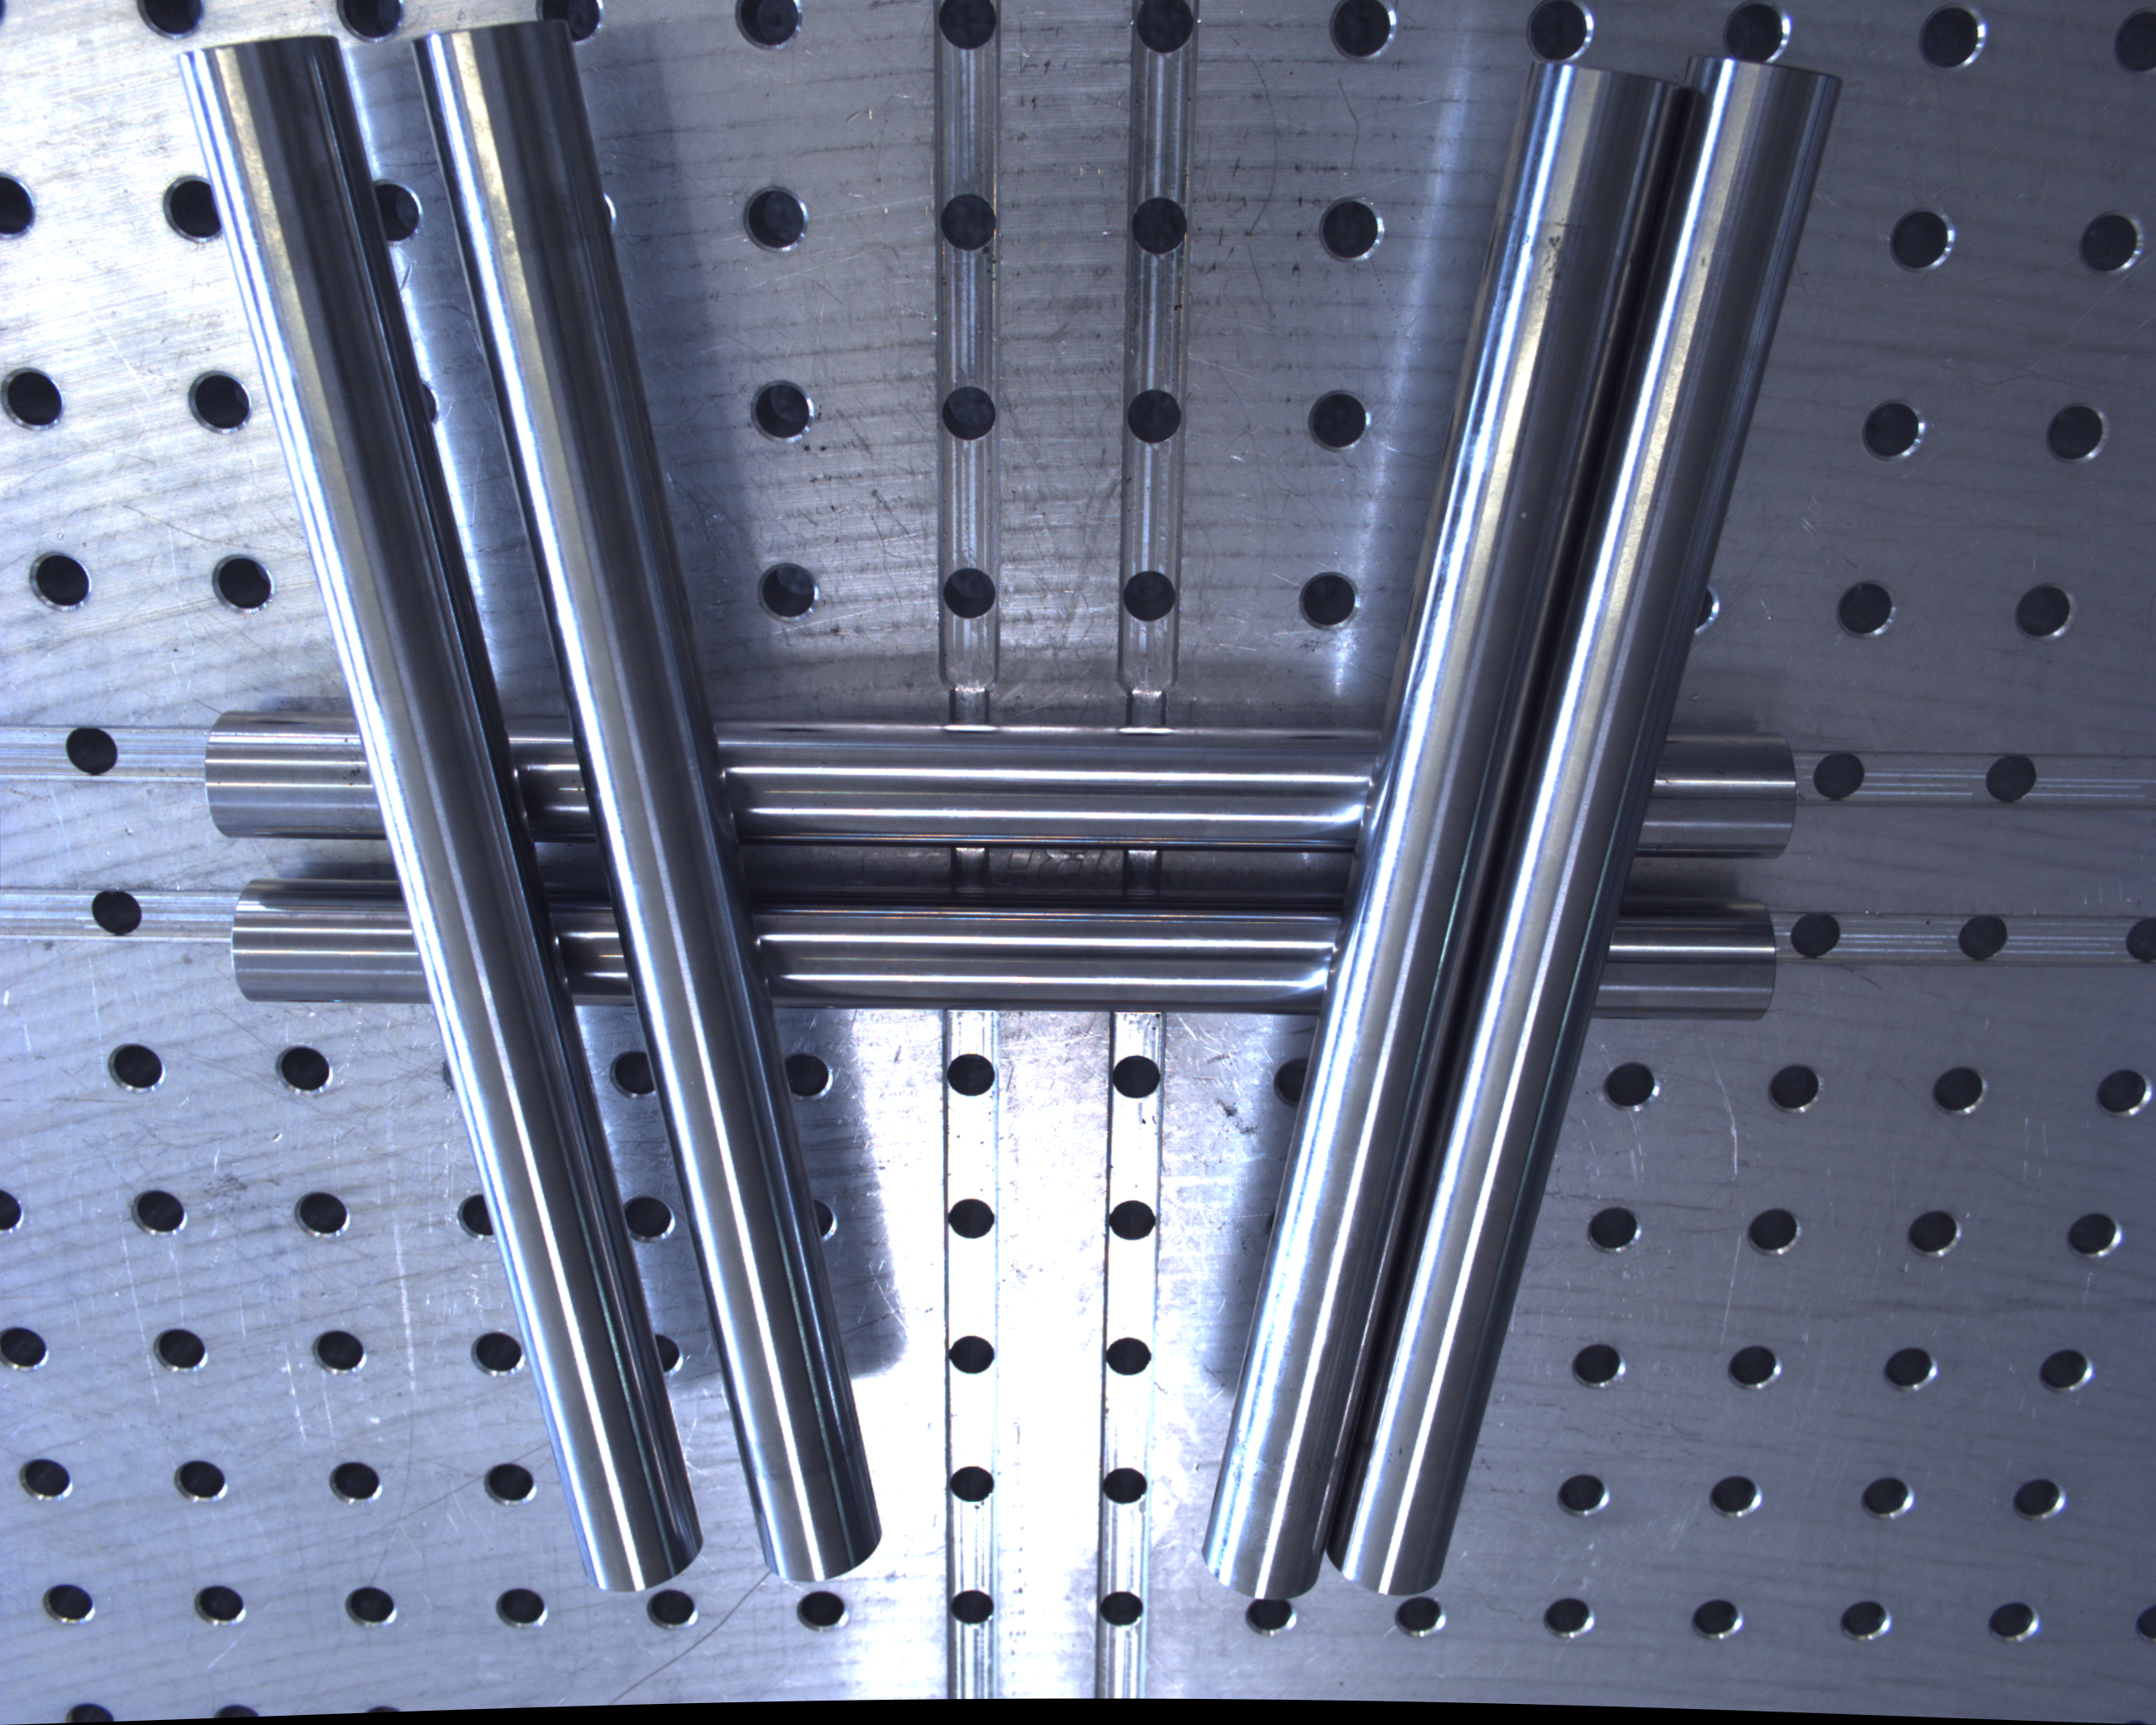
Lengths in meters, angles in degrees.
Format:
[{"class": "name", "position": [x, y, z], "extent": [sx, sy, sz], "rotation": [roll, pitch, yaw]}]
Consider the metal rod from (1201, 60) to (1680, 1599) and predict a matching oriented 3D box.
[{"class": "metal rod", "position": [0.062, 0.009, 0.391], "extent": [0.025, 0.025, 0.298], "rotation": [9, 110, -3]}]

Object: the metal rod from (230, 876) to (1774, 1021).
[{"class": "metal rod", "position": [-0.014, 0.017, 0.420], "extent": [0.302, 0.025, 0.025], "rotation": [1, 110, -1]}]

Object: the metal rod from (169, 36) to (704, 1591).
[{"class": "metal rod", "position": [-0.113, 0.007, 0.389], "extent": [0.025, 0.025, 0.298], "rotation": [-8, 110, 3]}]

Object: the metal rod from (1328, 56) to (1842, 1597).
[{"class": "metal rod", "position": [0.088, 0.009, 0.391], "extent": [0.025, 0.025, 0.298], "rotation": [9, 110, -3]}]

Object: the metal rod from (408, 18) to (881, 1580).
[{"class": "metal rod", "position": [-0.075, 0.004, 0.388], "extent": [0.025, 0.025, 0.298], "rotation": [-8, 110, 3]}]

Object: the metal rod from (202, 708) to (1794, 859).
[{"class": "metal rod", "position": [-0.014, -0.015, 0.408], "extent": [0.302, 0.025, 0.025], "rotation": [1, 110, -1]}]
